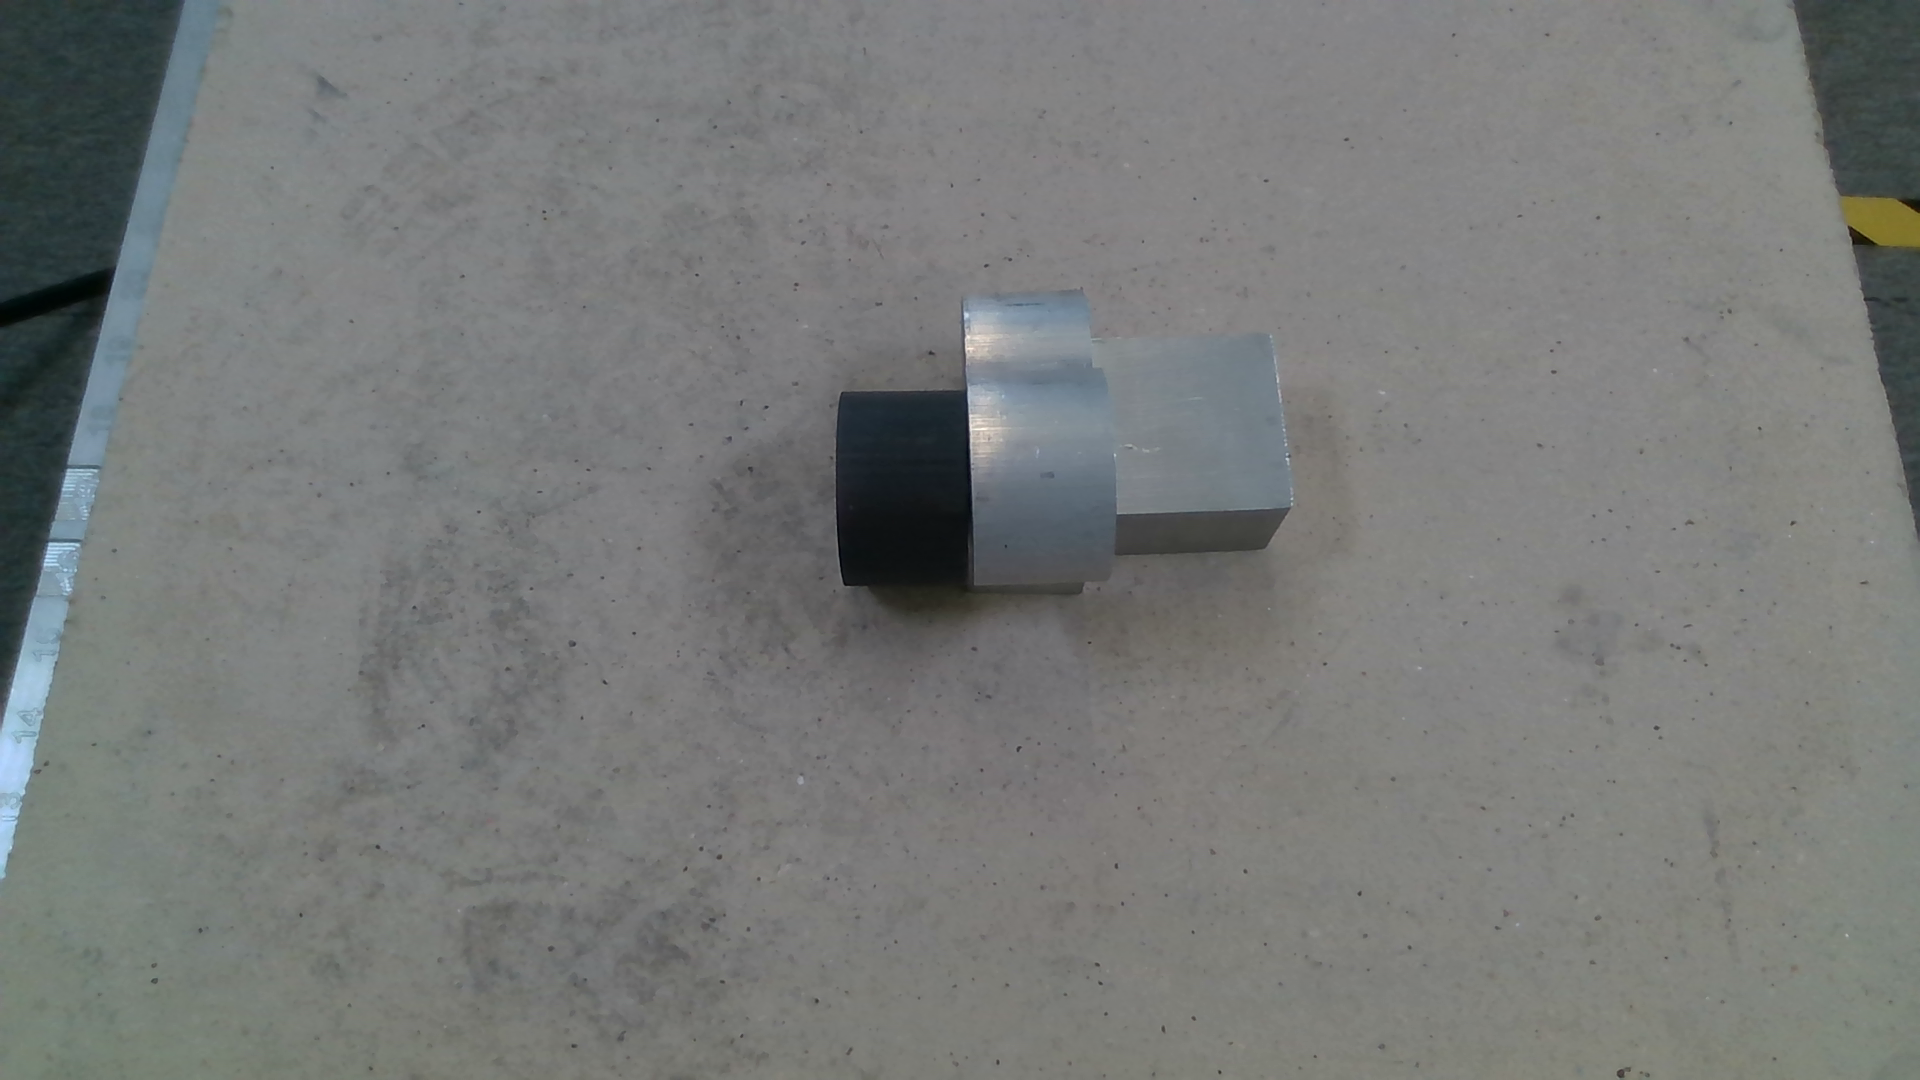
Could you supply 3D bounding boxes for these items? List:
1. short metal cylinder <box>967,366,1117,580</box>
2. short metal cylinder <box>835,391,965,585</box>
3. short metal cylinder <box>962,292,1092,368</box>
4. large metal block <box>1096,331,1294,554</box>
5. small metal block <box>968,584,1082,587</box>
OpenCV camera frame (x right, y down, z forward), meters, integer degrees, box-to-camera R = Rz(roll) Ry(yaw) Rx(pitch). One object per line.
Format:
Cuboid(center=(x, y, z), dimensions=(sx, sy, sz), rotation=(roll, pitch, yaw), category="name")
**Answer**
Cuboid(center=(0.029, -0.024, 0.516), dimensions=(0.050, 0.080, 0.080), rotation=(-2, 70, -1), category="short metal cylinder")
Cuboid(center=(-0.023, -0.021, 0.568), dimensions=(0.050, 0.080, 0.080), rotation=(0, 70, 0), category="short metal cylinder")
Cuboid(center=(0.027, -0.065, 0.583), dimensions=(0.050, 0.080, 0.080), rotation=(-2, 70, -1), category="short metal cylinder")
Cuboid(center=(0.093, -0.041, 0.591), dimensions=(0.080, 0.050, 0.080), rotation=(-2, 70, -1), category="large metal block")
Cuboid(center=(0.027, 0.002, 0.577), dimensions=(0.050, 0.050, 0.025), rotation=(1, 70, 0), category="small metal block")
